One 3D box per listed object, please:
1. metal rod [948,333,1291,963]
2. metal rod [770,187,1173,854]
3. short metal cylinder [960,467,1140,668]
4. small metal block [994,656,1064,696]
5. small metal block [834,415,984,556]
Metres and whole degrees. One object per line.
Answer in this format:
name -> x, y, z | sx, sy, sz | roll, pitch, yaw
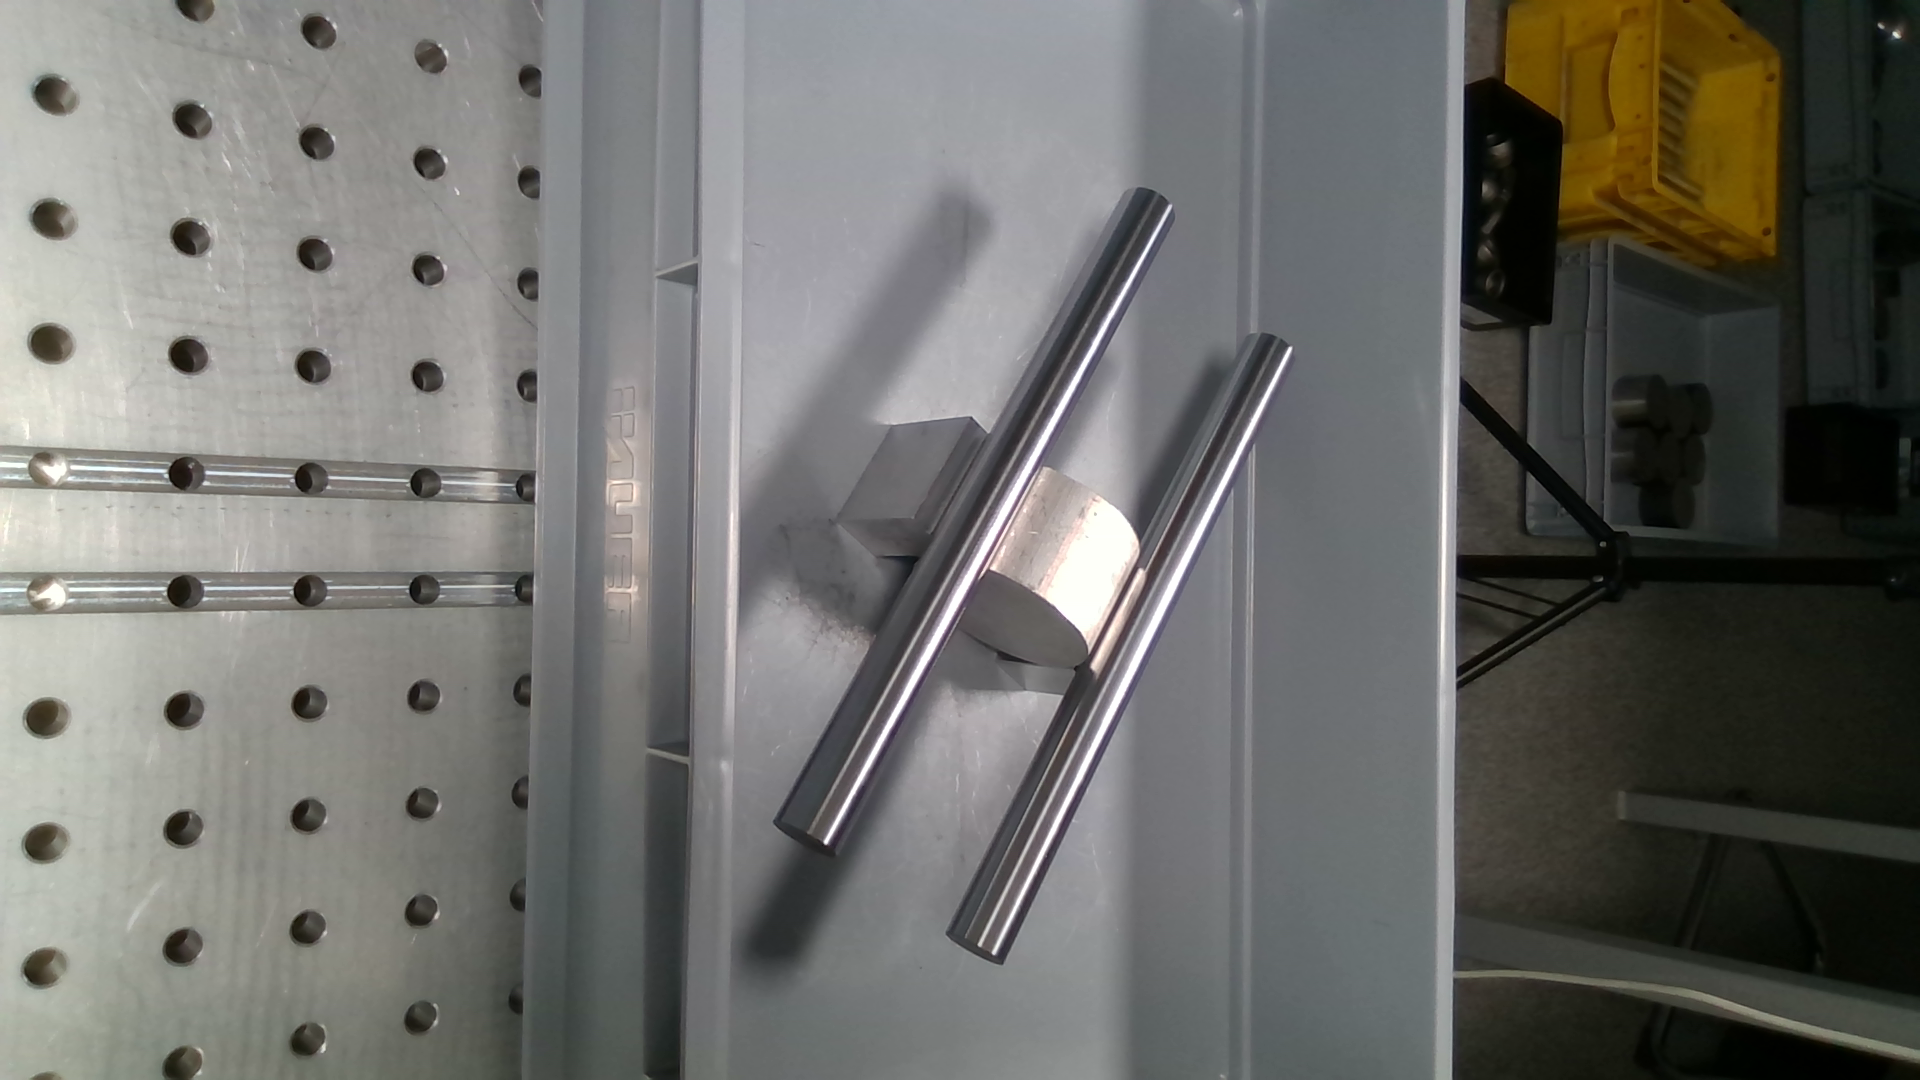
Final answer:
metal rod -> 0.073, 0.034, 0.578 | 0.025, 0.025, 0.299 | 44, 64, -31
metal rod -> 0.012, -0.020, 0.528 | 0.025, 0.025, 0.299 | 44, 63, -31
short metal cylinder -> 0.027, 0.010, 0.569 | 0.080, 0.080, 0.050 | 44, 63, -31
small metal block -> 0.050, 0.042, 0.607 | 0.025, 0.050, 0.050 | 44, 63, -31
small metal block -> -0.015, -0.021, 0.552 | 0.025, 0.050, 0.050 | 44, 63, -31
